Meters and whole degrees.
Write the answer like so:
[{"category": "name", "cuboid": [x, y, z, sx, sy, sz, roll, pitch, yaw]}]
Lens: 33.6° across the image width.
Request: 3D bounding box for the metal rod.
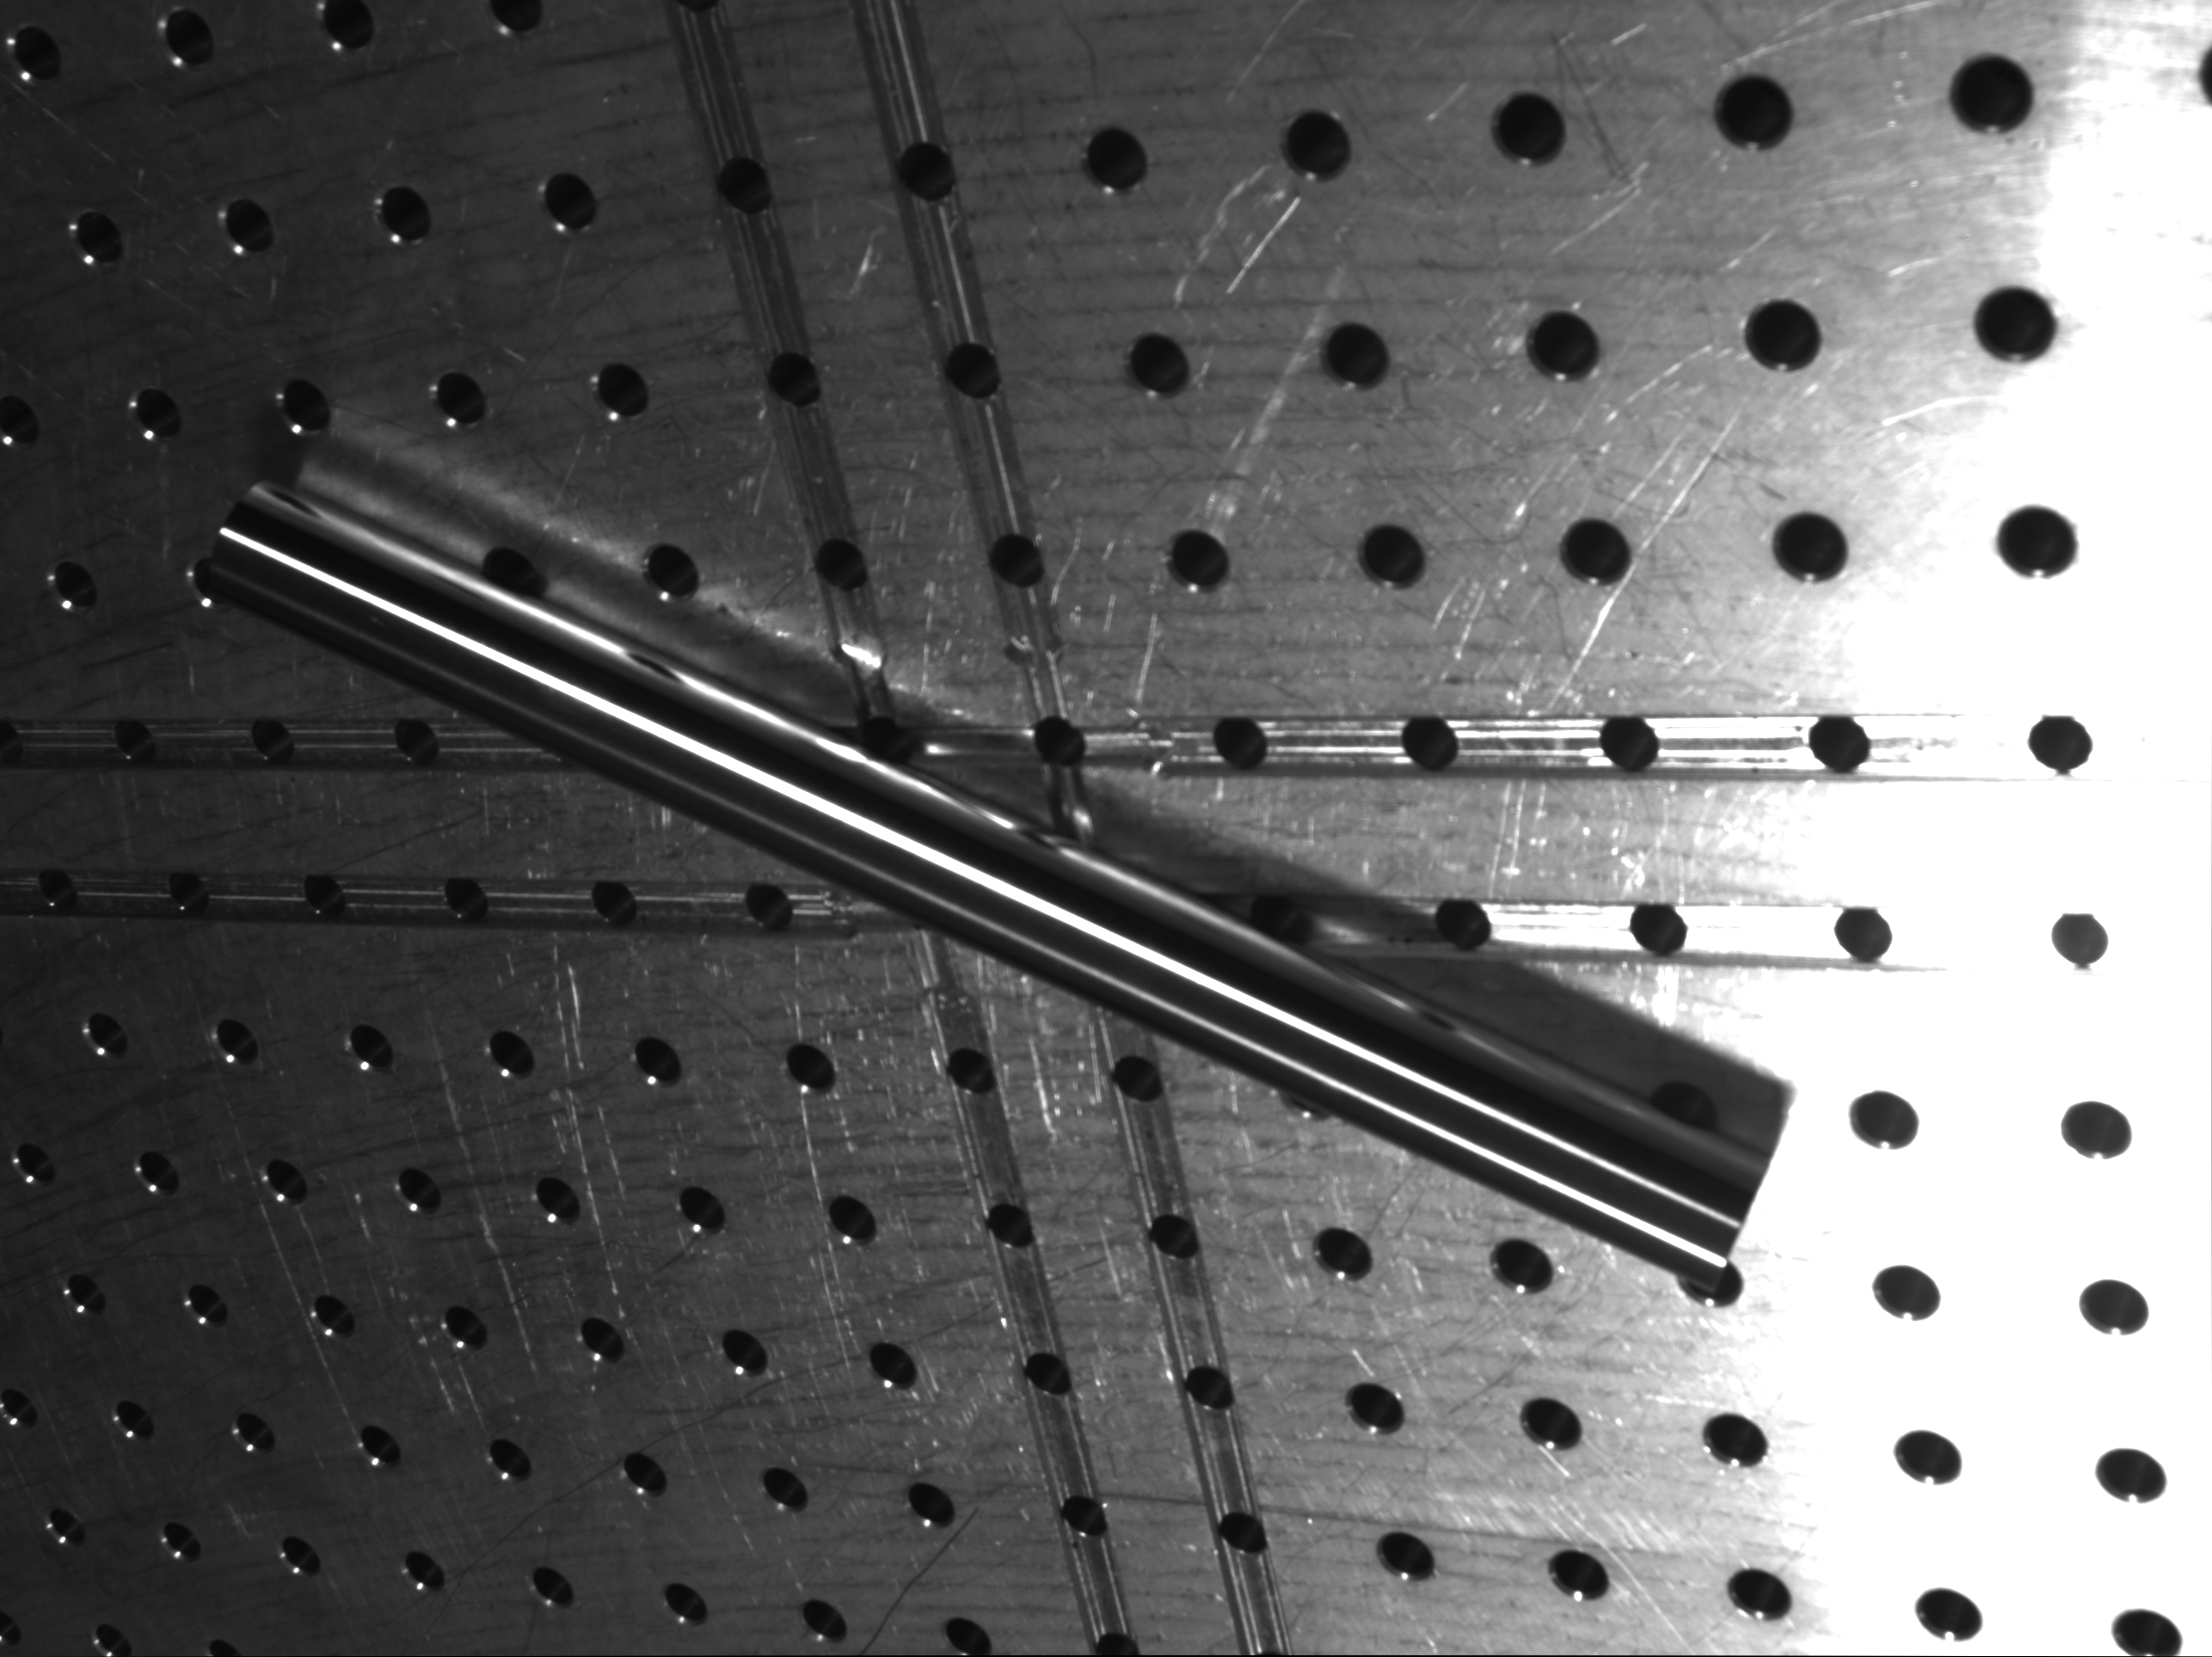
[{"category": "metal rod", "cuboid": [-0.025, 0.007, 0.651, 0.300, 0.025, 0.025, 24, 126, 12]}]
